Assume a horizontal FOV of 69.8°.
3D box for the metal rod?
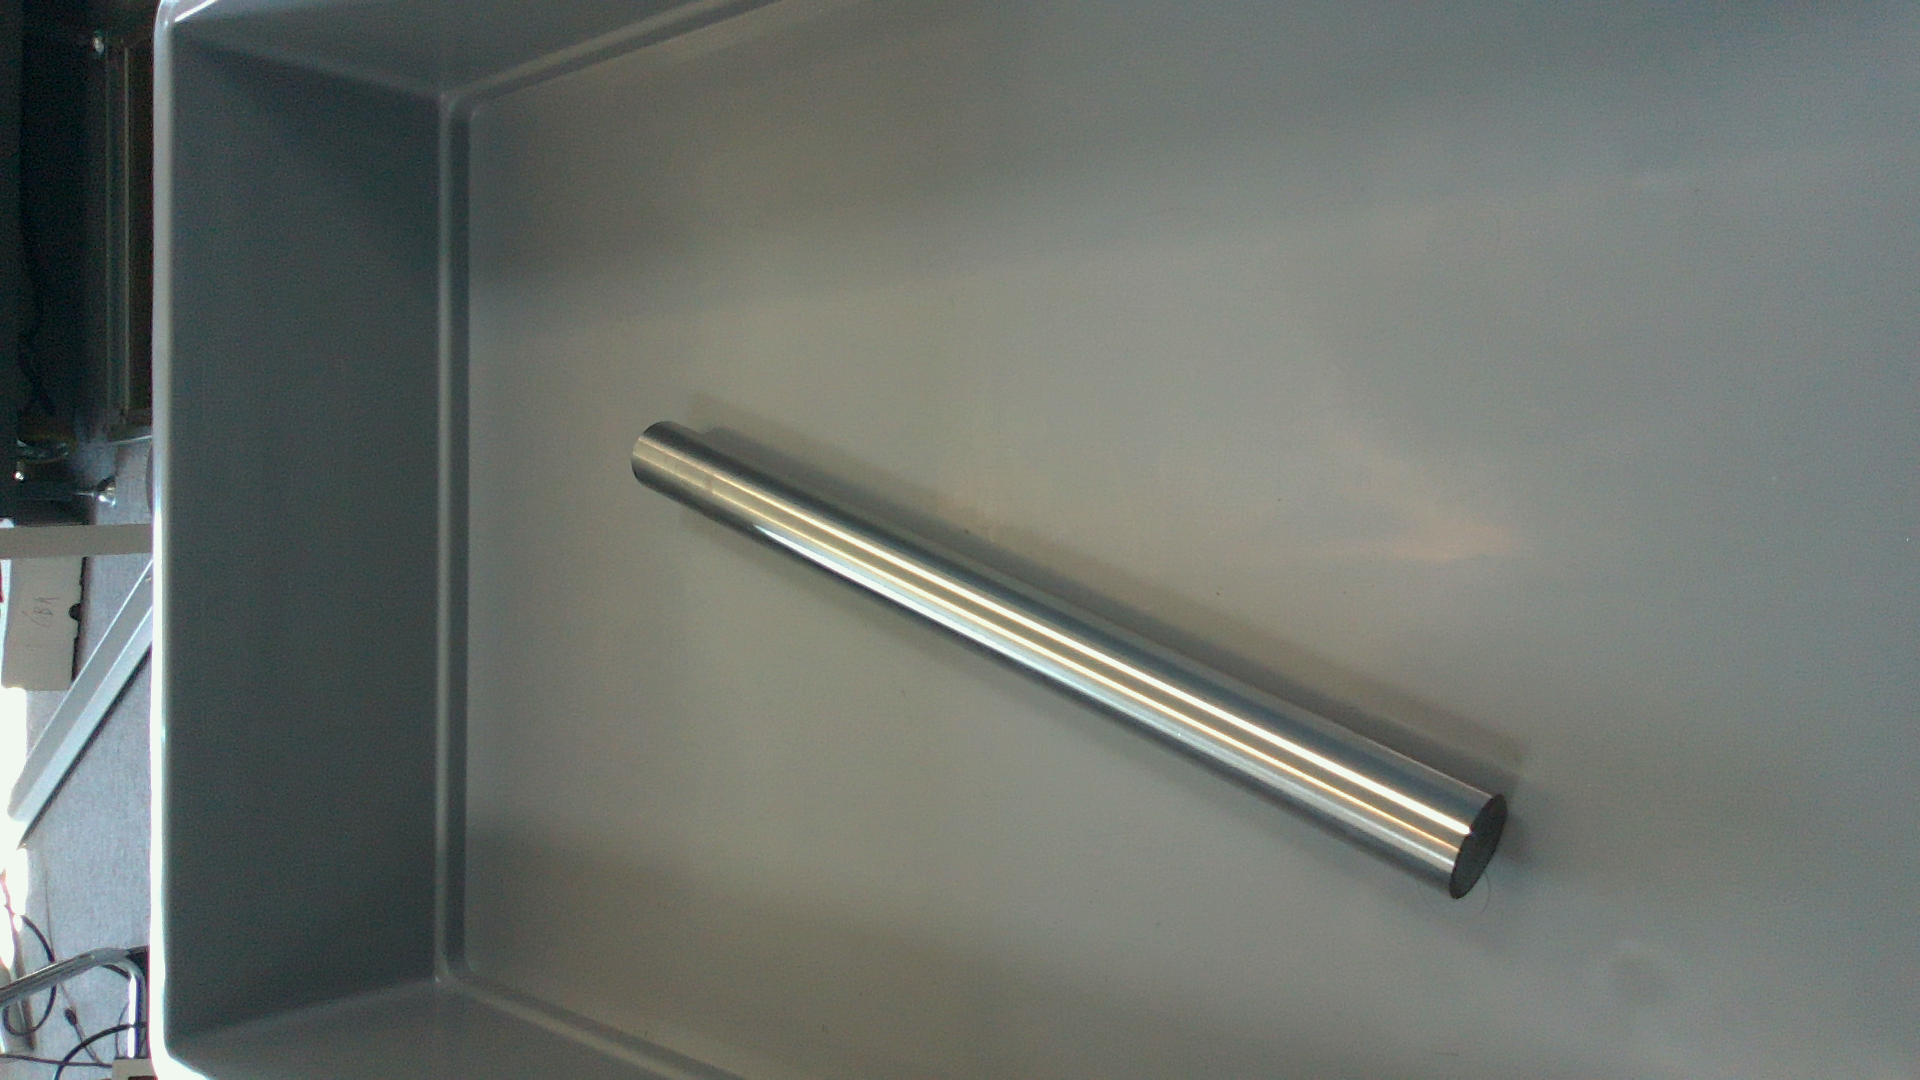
[{"bbox_3d":[0.003,0.018,0.390,0.299,0.025,0.025,24,105,38],"label":"metal rod"}]
